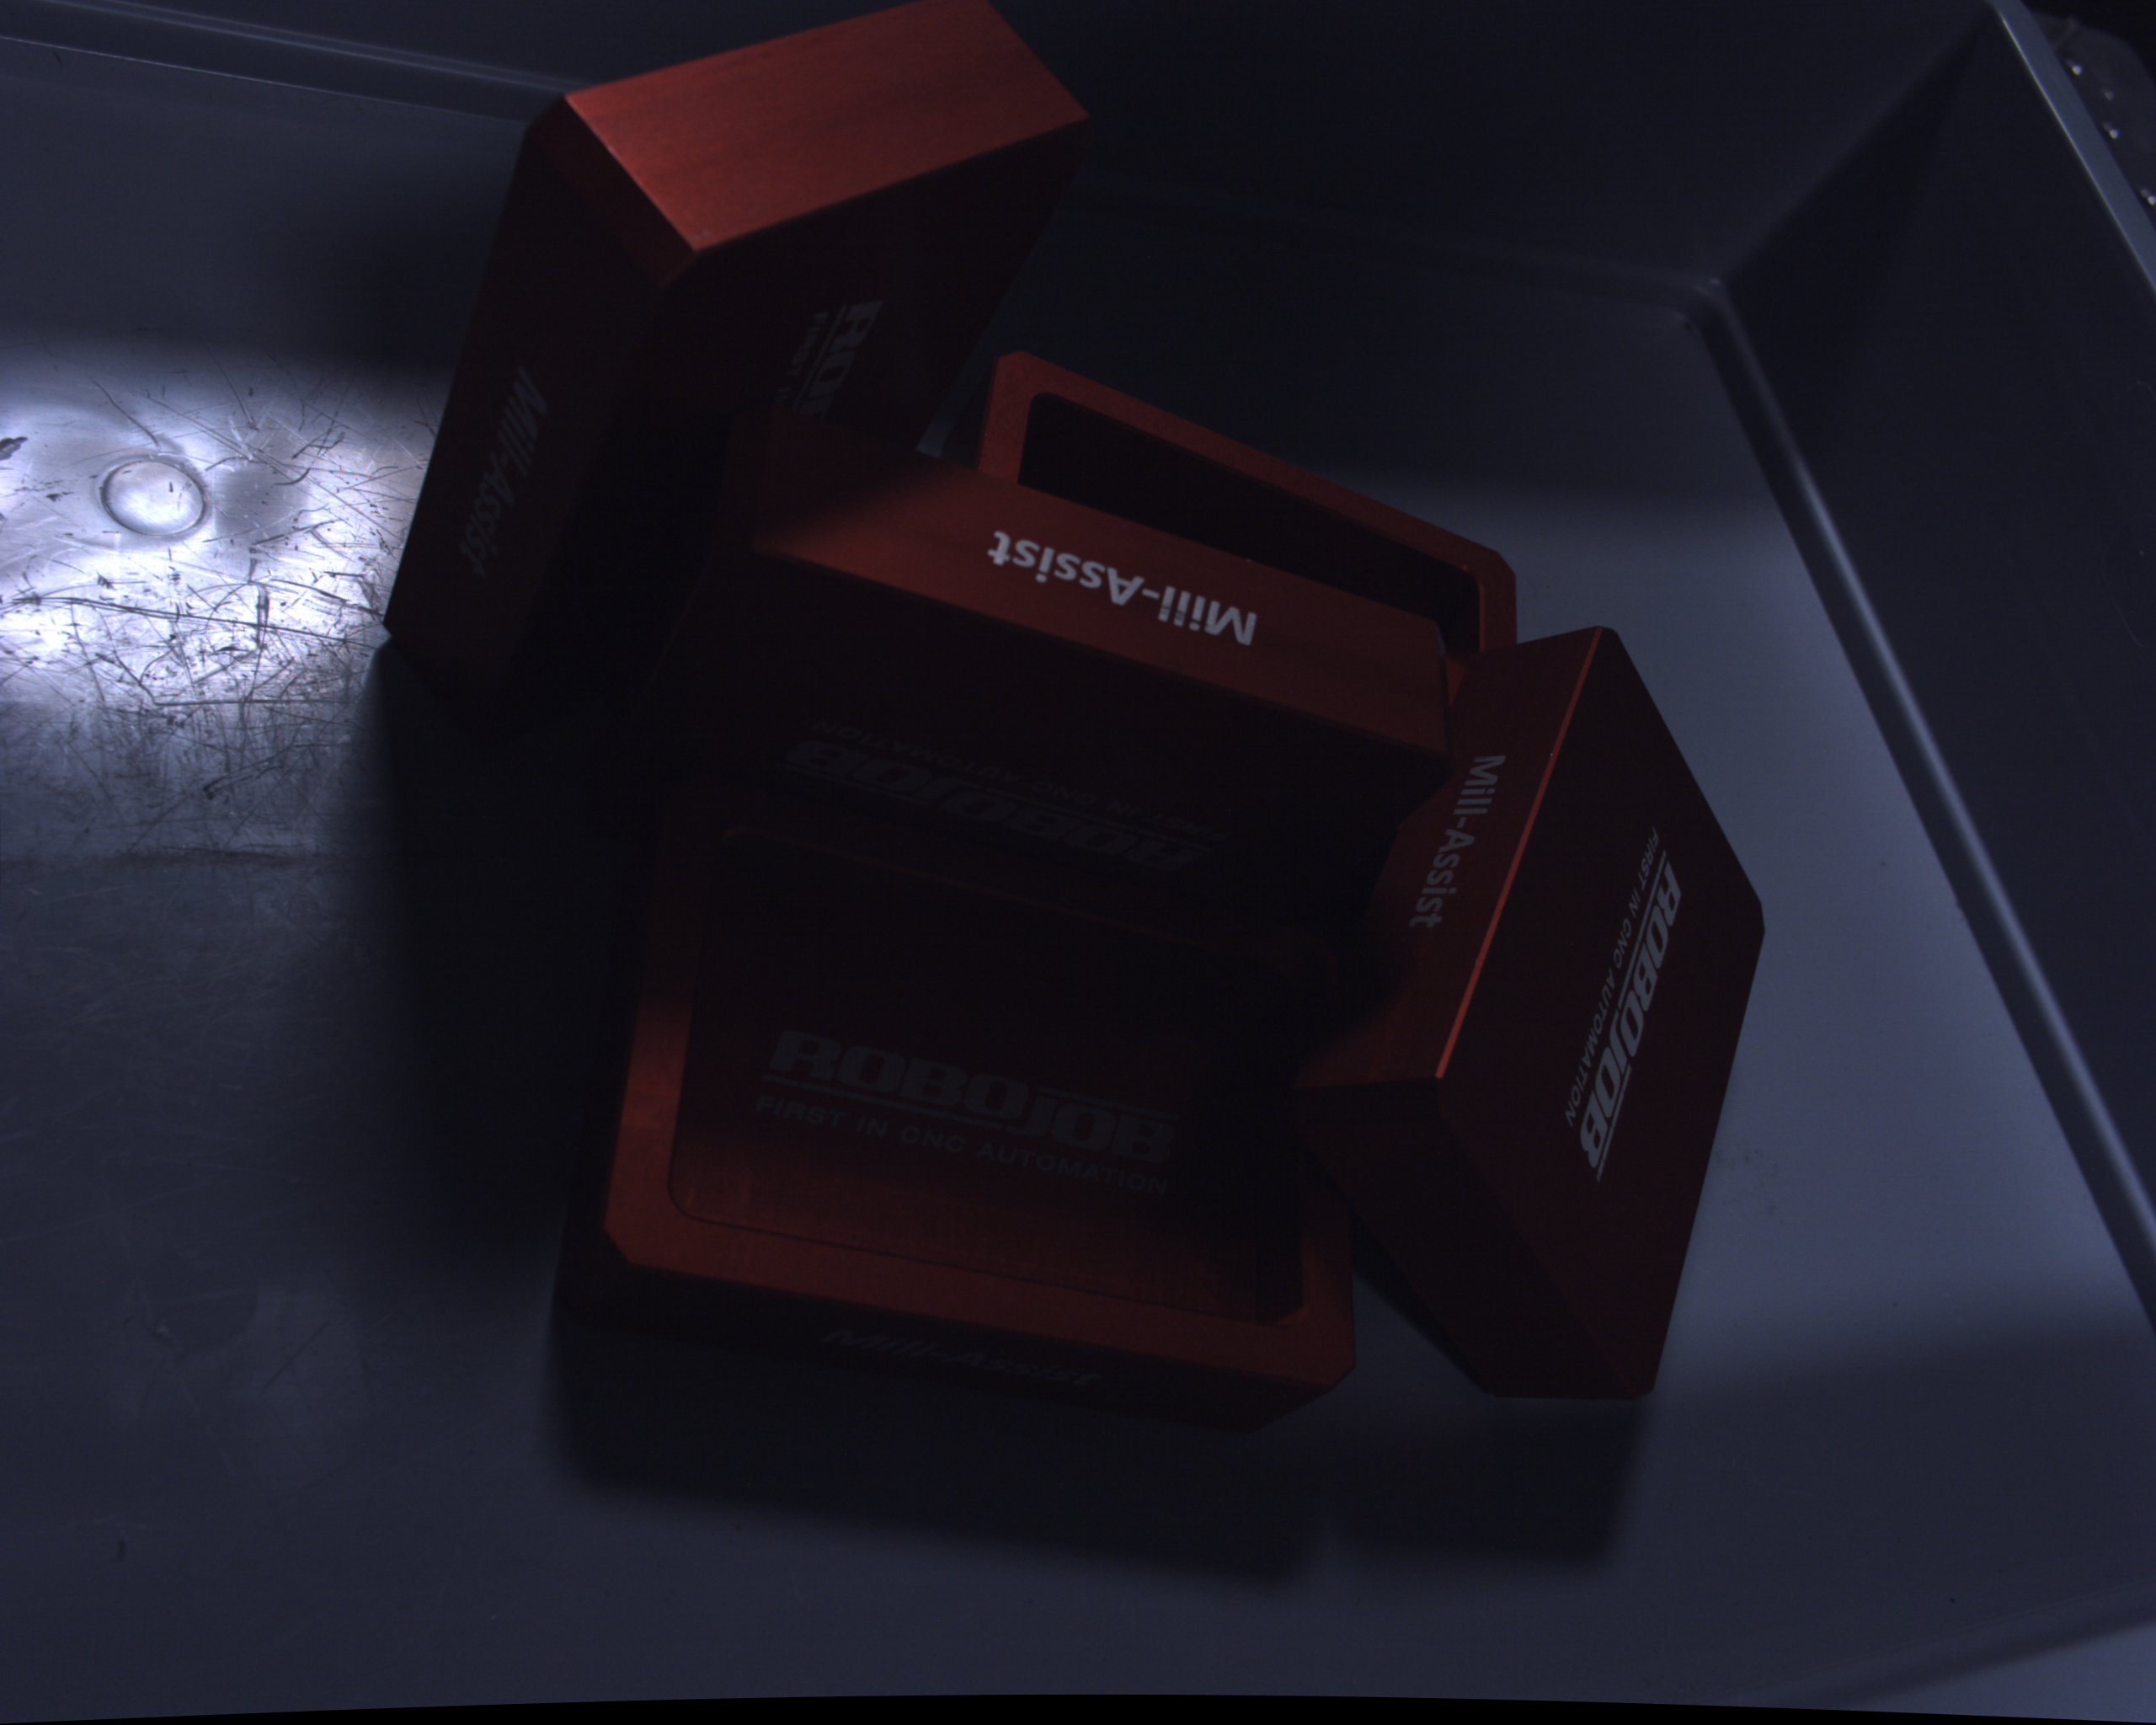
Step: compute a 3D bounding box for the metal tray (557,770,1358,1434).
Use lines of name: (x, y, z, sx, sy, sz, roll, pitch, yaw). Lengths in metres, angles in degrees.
metal tray: (-0.016, 0.043, 0.365, 0.131, 0.030, 0.090, 15, 56, -20)

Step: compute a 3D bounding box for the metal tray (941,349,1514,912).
metal tray: (0.031, -0.047, 0.447, 0.131, 0.030, 0.090, 19, 54, -17)

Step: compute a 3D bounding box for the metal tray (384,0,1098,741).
metal tray: (-0.060, -0.080, 0.353, 0.091, 0.129, 0.030, -34, 82, -38)

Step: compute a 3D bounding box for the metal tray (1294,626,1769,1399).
metal tray: (0.095, 0.027, 0.411, 0.090, 0.030, 0.130, 53, 46, -28)

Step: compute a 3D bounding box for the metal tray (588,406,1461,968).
metal tray: (-0.011, -0.024, 0.370, 0.131, 0.090, 0.030, 15, 56, -21)
